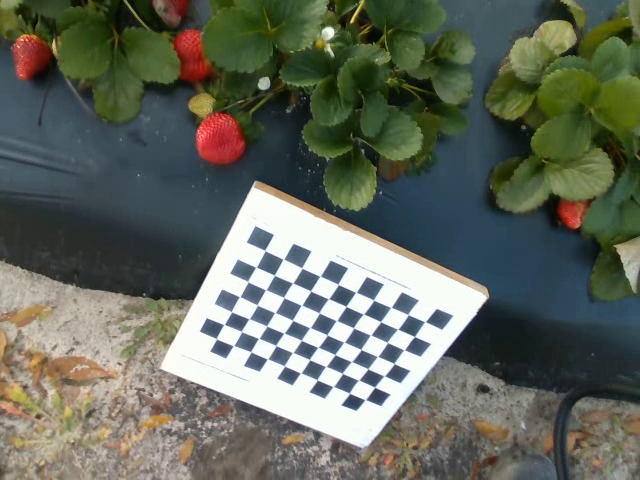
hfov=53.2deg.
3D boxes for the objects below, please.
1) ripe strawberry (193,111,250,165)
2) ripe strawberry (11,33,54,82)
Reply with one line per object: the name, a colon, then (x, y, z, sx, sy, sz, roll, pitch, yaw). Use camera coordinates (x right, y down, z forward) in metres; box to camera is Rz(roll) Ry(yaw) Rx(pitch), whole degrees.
ripe strawberry: (-0.045, -0.041, 0.278, 0.022, 0.025, 0.030, 23, 38, 17)
ripe strawberry: (-0.122, -0.074, 0.263, 0.018, 0.022, 0.017, 6, -12, -3)
